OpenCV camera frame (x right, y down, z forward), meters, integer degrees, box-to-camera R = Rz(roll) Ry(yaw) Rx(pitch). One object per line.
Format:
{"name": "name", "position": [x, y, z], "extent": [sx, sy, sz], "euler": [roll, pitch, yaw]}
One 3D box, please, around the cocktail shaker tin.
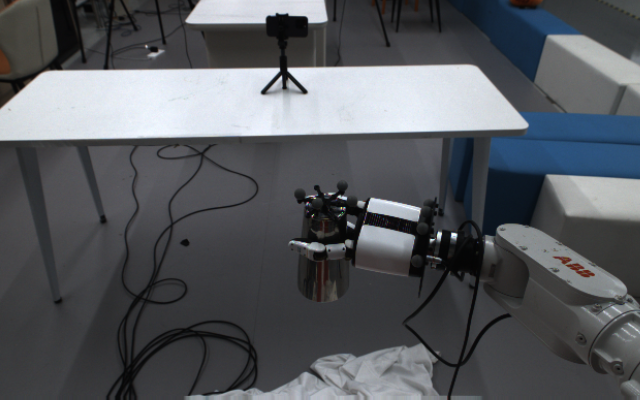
{"name": "cocktail shaker tin", "position": [0.010, 0.074, 0.797], "extent": [0.093, 0.170, 0.093], "euler": [1, 39, -1]}
